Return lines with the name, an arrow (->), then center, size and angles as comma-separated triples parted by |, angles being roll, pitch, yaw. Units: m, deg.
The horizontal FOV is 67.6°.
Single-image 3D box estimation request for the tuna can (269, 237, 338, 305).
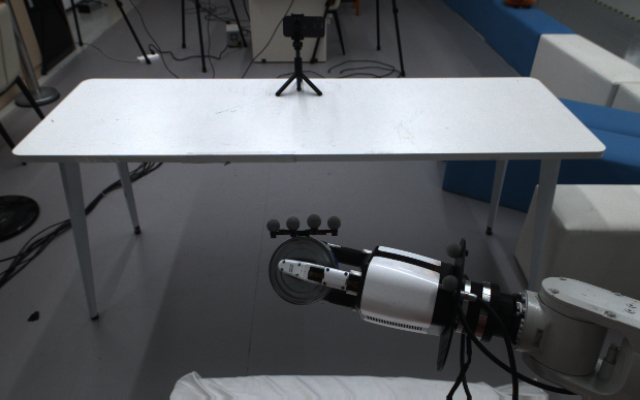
tuna can -> -0.017, 0.094, 0.612 | 0.085, 0.085, 0.034 | 10, -6, 11
